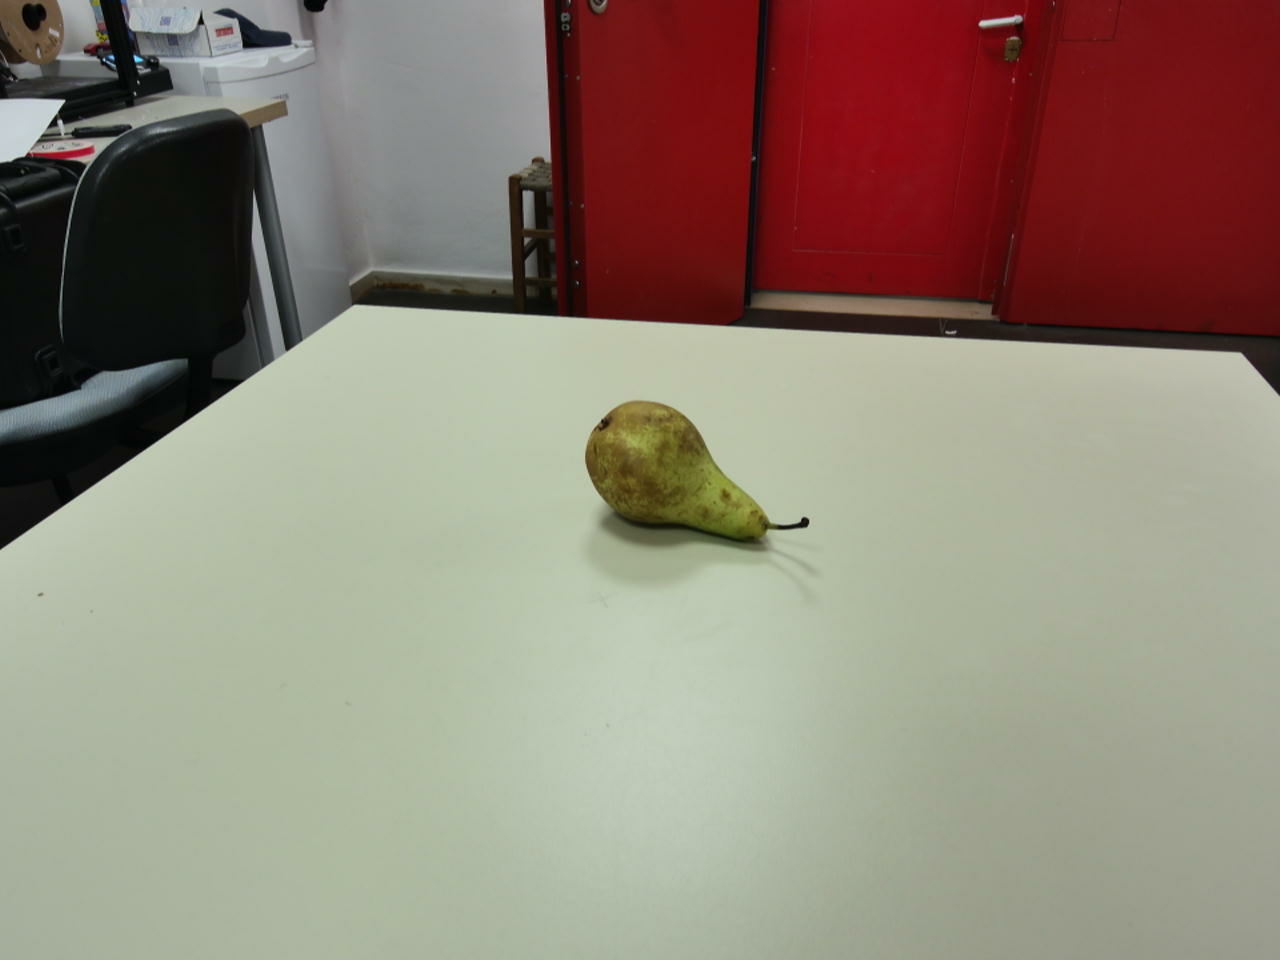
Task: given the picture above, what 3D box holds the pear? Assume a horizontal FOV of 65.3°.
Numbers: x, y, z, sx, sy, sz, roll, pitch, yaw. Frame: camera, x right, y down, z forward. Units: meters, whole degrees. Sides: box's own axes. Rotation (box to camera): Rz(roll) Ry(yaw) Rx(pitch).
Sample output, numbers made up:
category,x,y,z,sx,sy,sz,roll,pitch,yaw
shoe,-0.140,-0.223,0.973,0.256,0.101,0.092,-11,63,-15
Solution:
category,x,y,z,sx,sy,sz,roll,pitch,yaw
pear,0.037,-0.006,0.606,0.144,0.075,0.071,10,28,17
